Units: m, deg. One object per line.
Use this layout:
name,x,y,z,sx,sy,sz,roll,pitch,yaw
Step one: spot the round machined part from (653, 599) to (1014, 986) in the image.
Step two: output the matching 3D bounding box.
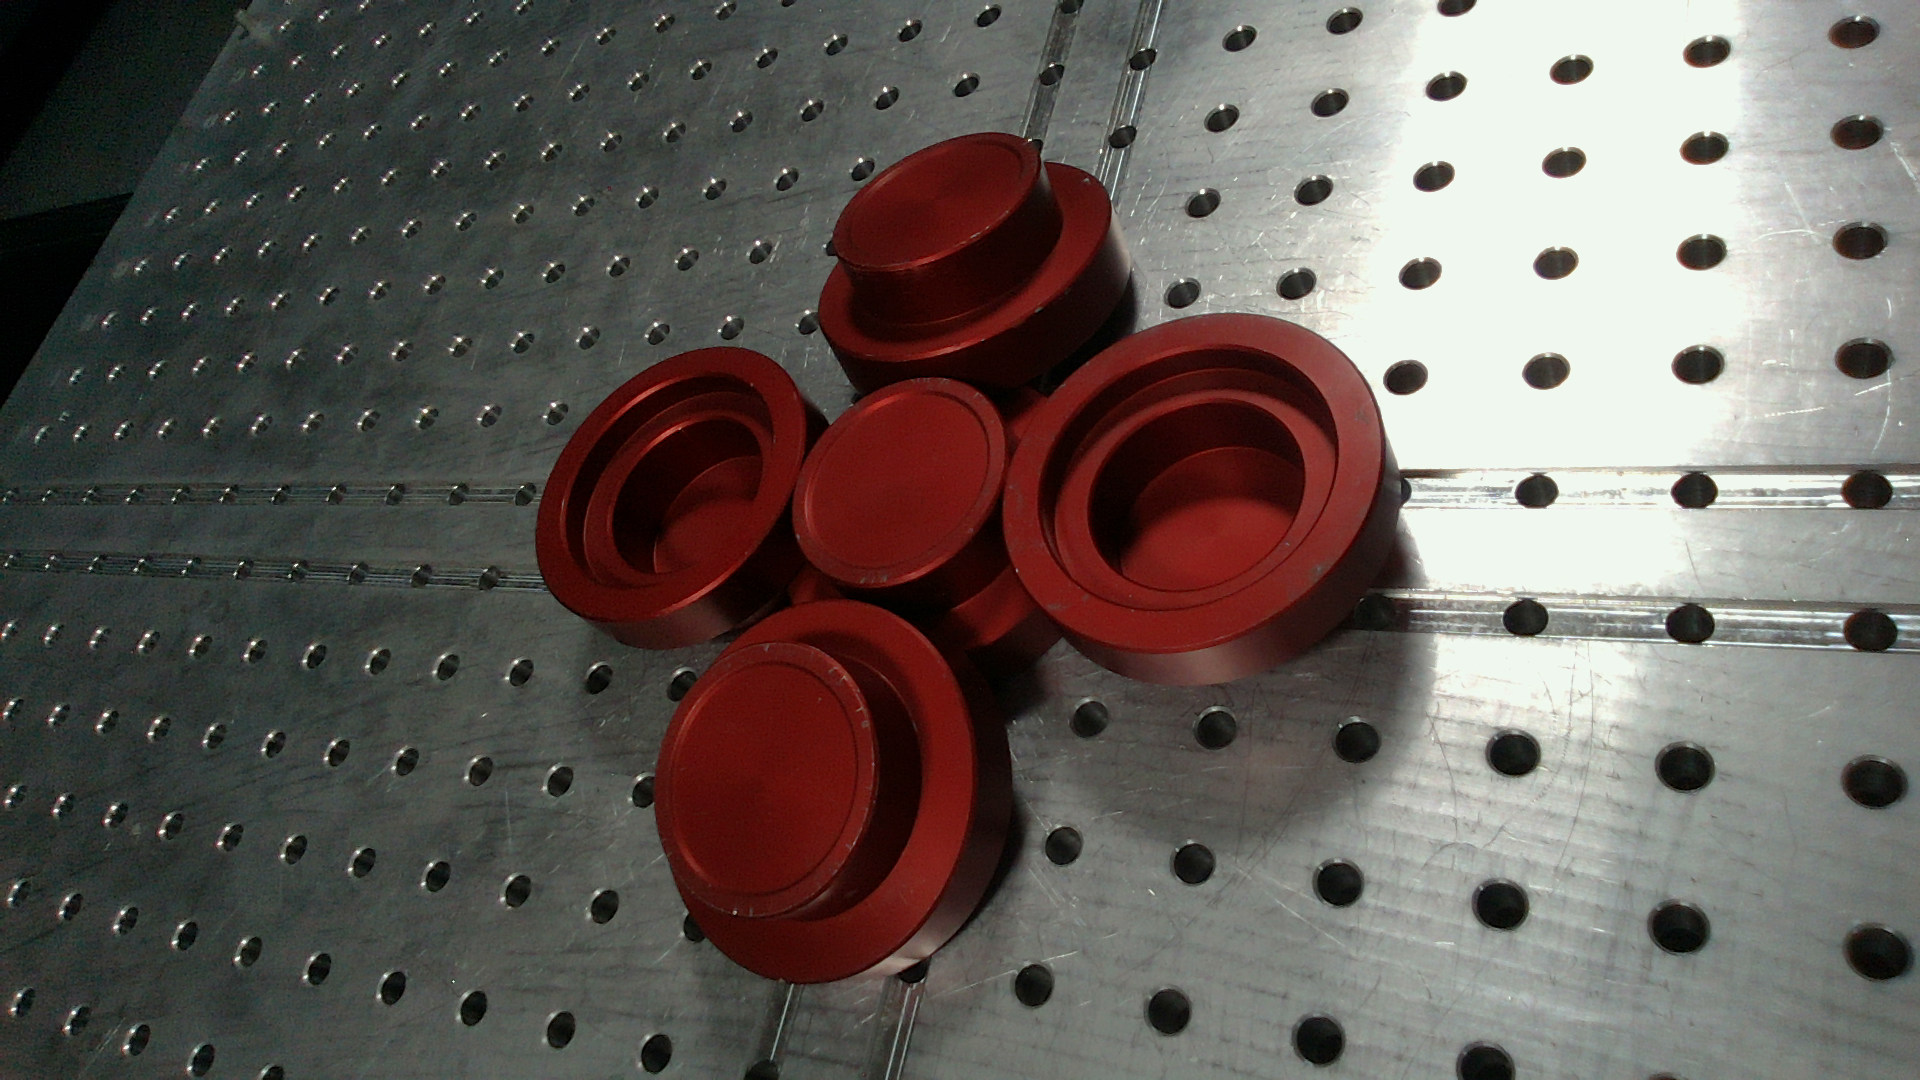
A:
round machined part,-0.039,0.063,0.353,0.098,0.042,0.098,-8,72,27

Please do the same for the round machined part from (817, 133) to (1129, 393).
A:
round machined part,-0.001,-0.089,0.426,0.098,0.042,0.098,-16,41,15

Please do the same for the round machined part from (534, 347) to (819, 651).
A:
round machined part,-0.082,-0.009,0.436,0.098,0.042,0.098,-13,56,21

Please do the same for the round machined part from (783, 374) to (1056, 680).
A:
round machined part,-0.010,-0.008,0.395,0.098,0.042,0.098,-13,56,21

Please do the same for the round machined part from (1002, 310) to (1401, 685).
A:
round machined part,0.064,-0.007,0.355,0.098,0.042,0.098,-13,56,21
